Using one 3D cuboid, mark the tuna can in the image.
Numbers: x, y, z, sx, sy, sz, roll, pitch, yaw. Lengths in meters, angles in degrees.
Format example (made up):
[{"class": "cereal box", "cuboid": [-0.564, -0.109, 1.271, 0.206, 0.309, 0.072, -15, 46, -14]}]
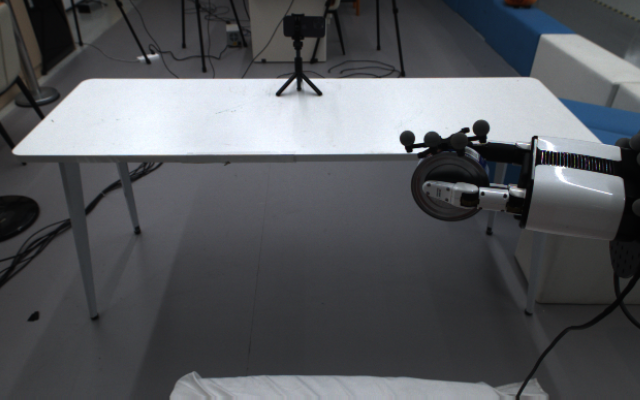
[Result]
[{"class": "tuna can", "cuboid": [0.151, -0.022, 0.555, 0.085, 0.085, 0.034, 13, 29, 15]}]
